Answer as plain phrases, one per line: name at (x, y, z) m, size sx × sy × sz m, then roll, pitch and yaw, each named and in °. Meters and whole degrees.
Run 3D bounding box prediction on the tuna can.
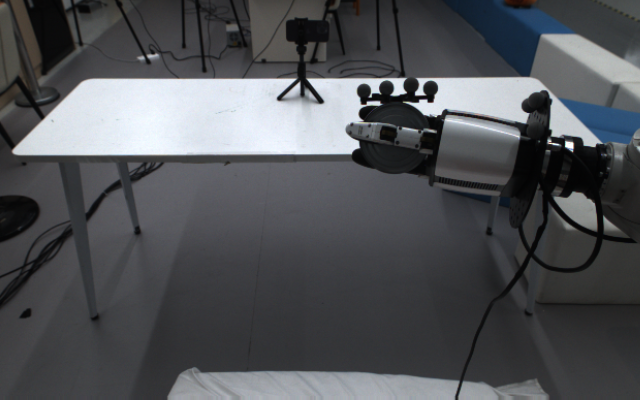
tuna can at (0.093, -0.076, 0.591) m, size 0.085 × 0.085 × 0.034 m, roll 12°, pitch 8°, yaw 14°
